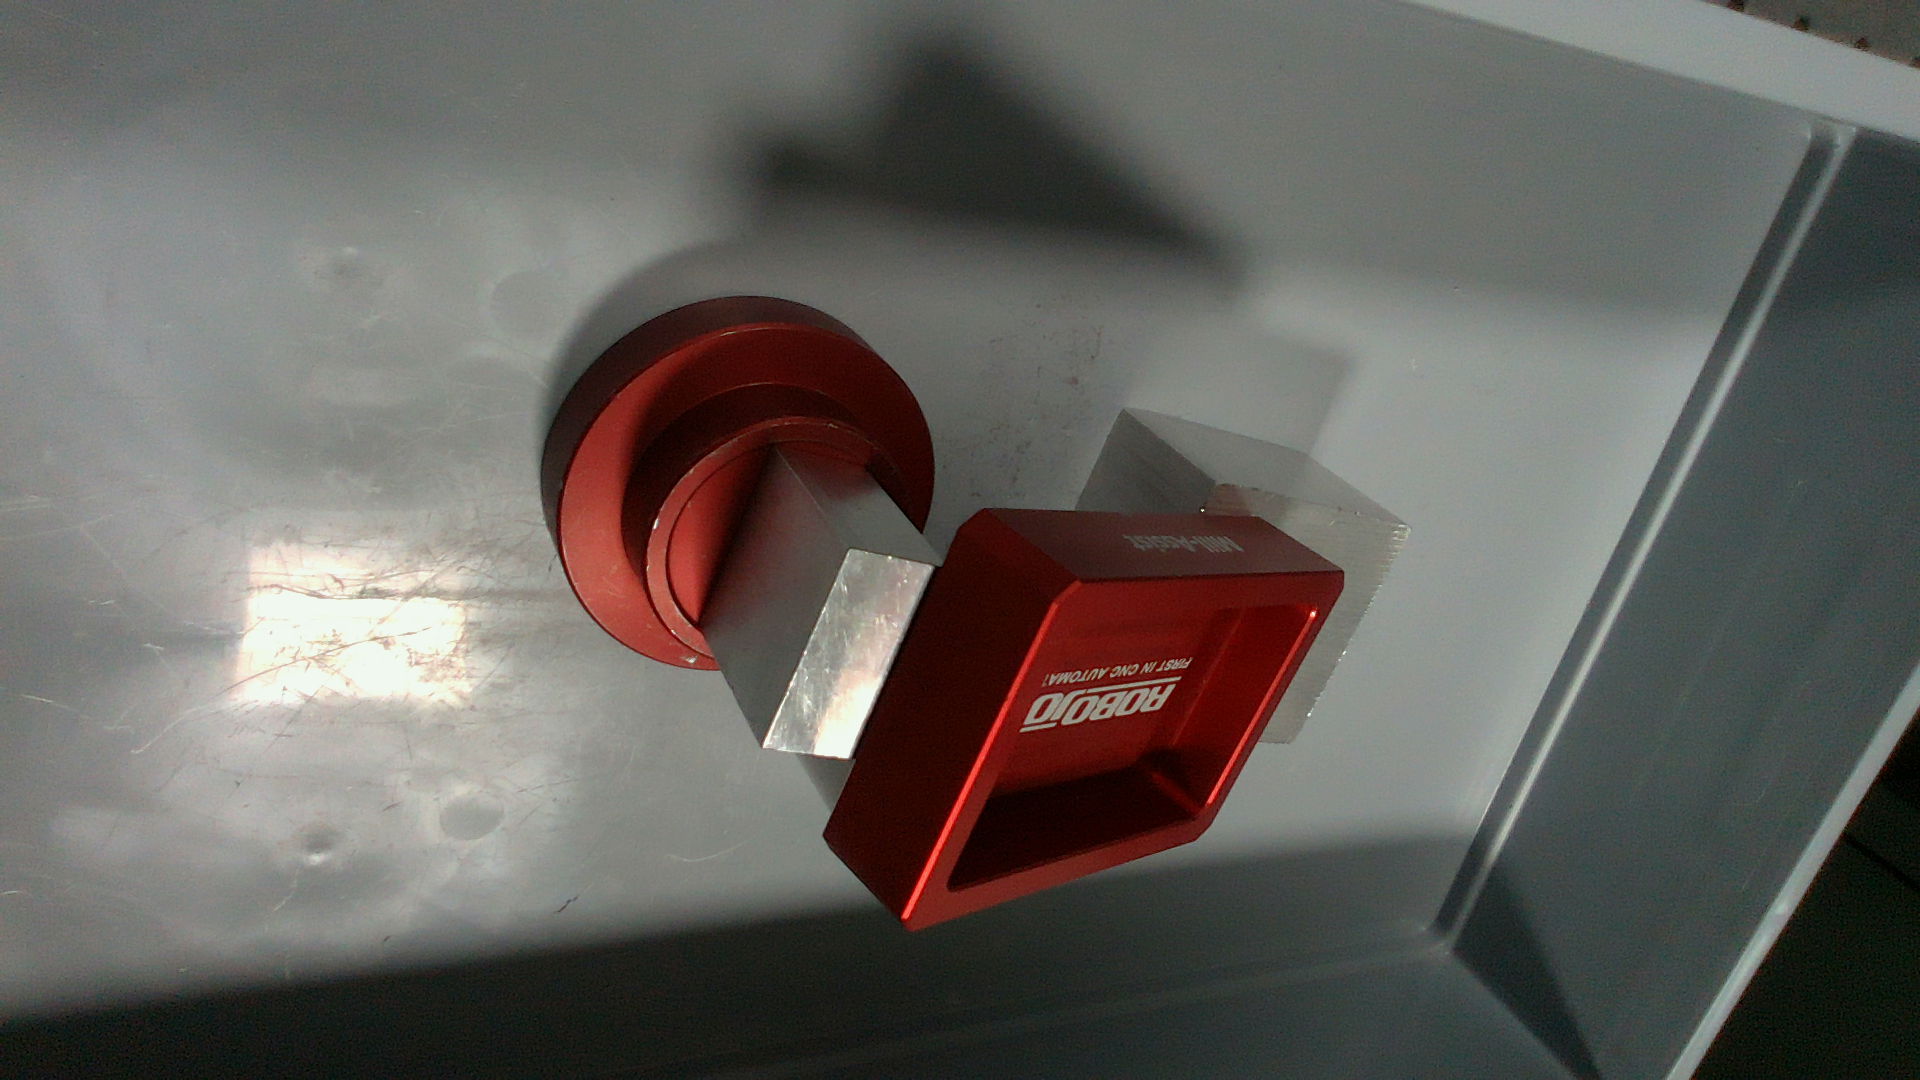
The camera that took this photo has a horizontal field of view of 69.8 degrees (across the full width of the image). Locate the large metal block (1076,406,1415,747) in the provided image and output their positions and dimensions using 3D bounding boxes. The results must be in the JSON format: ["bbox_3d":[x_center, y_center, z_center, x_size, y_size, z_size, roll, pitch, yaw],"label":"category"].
[{"bbox_3d":[0.077,0.013,0.420,0.080,0.050,0.080,10,113,-33],"label":"large metal block"}]

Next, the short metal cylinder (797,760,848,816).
[{"bbox_3d":[-0.004,0.052,0.386,0.080,0.050,0.080,-25,144,-20],"label":"short metal cylinder"}]

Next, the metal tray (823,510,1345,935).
[{"bbox_3d":[0.036,0.040,0.337,0.131,0.030,0.090,0,120,-50],"label":"metal tray"}]

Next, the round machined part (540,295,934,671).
[{"bbox_3d":[-0.051,-0.008,0.344,0.098,0.042,0.098,-14,124,-21],"label":"round machined part"}]

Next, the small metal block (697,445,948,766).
[{"bbox_3d":[-0.032,0.014,0.308,0.025,0.050,0.050,13,112,-33],"label":"small metal block"}]
